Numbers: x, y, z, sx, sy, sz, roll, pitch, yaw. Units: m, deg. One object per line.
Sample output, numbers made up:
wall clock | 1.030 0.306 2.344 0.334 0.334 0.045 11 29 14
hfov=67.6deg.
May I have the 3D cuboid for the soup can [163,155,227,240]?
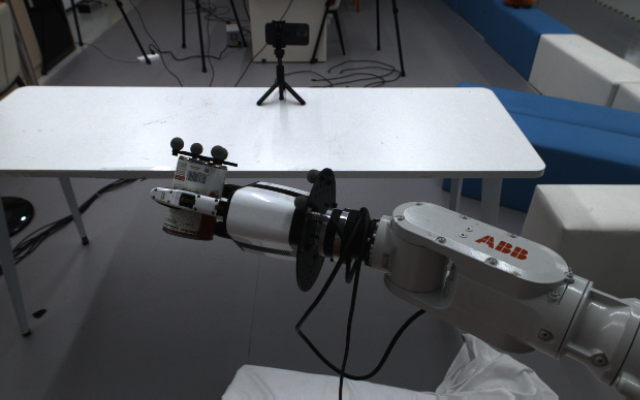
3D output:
soup can | -0.167 -0.001 0.651 0.067 0.101 0.067 13 0 0
